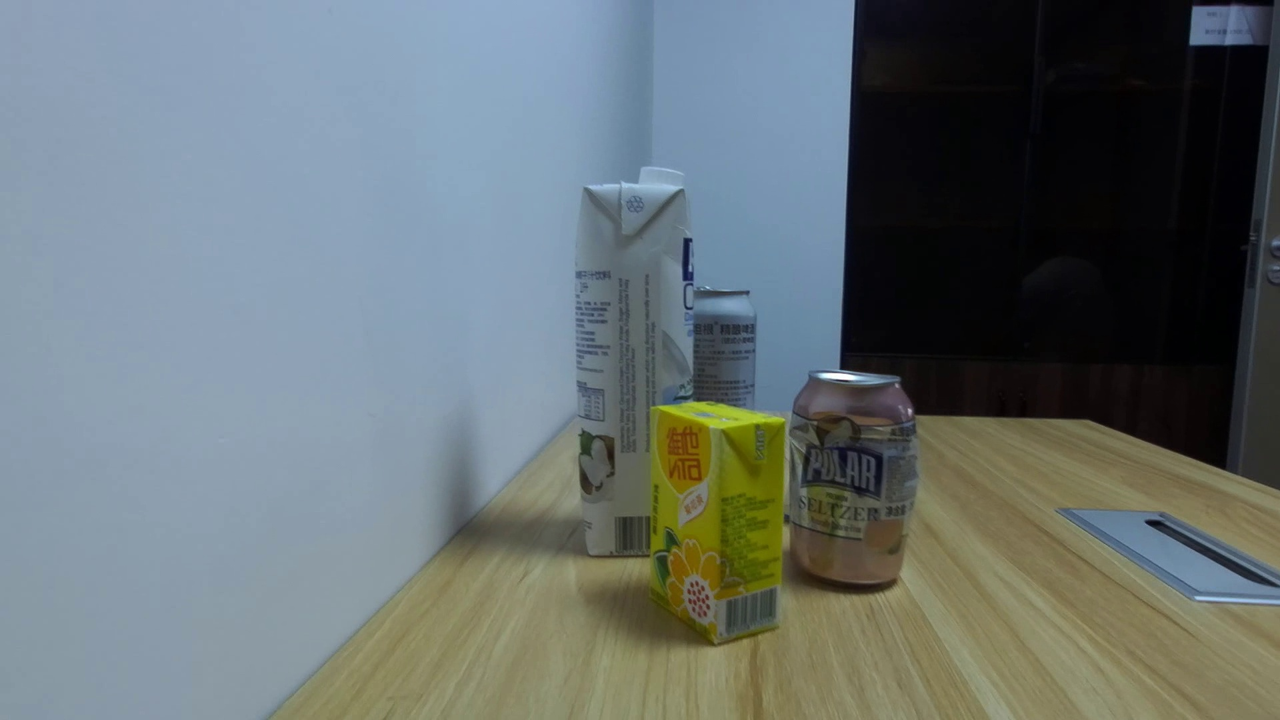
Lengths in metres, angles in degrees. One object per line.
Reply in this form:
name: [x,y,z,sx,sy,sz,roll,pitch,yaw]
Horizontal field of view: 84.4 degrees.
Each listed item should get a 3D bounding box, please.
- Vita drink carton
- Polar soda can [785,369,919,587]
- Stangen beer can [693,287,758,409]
Vita drink carton: [0.038,0.080,0.370,0.044,0.109,0.066,-4,8,-30]
Polar soda can: [0.125,0.069,0.428,0.067,0.121,0.074,0,8,-21]
Stangen beer can: [0.058,0.029,0.561,0.067,0.171,0.067,0,7,0]
